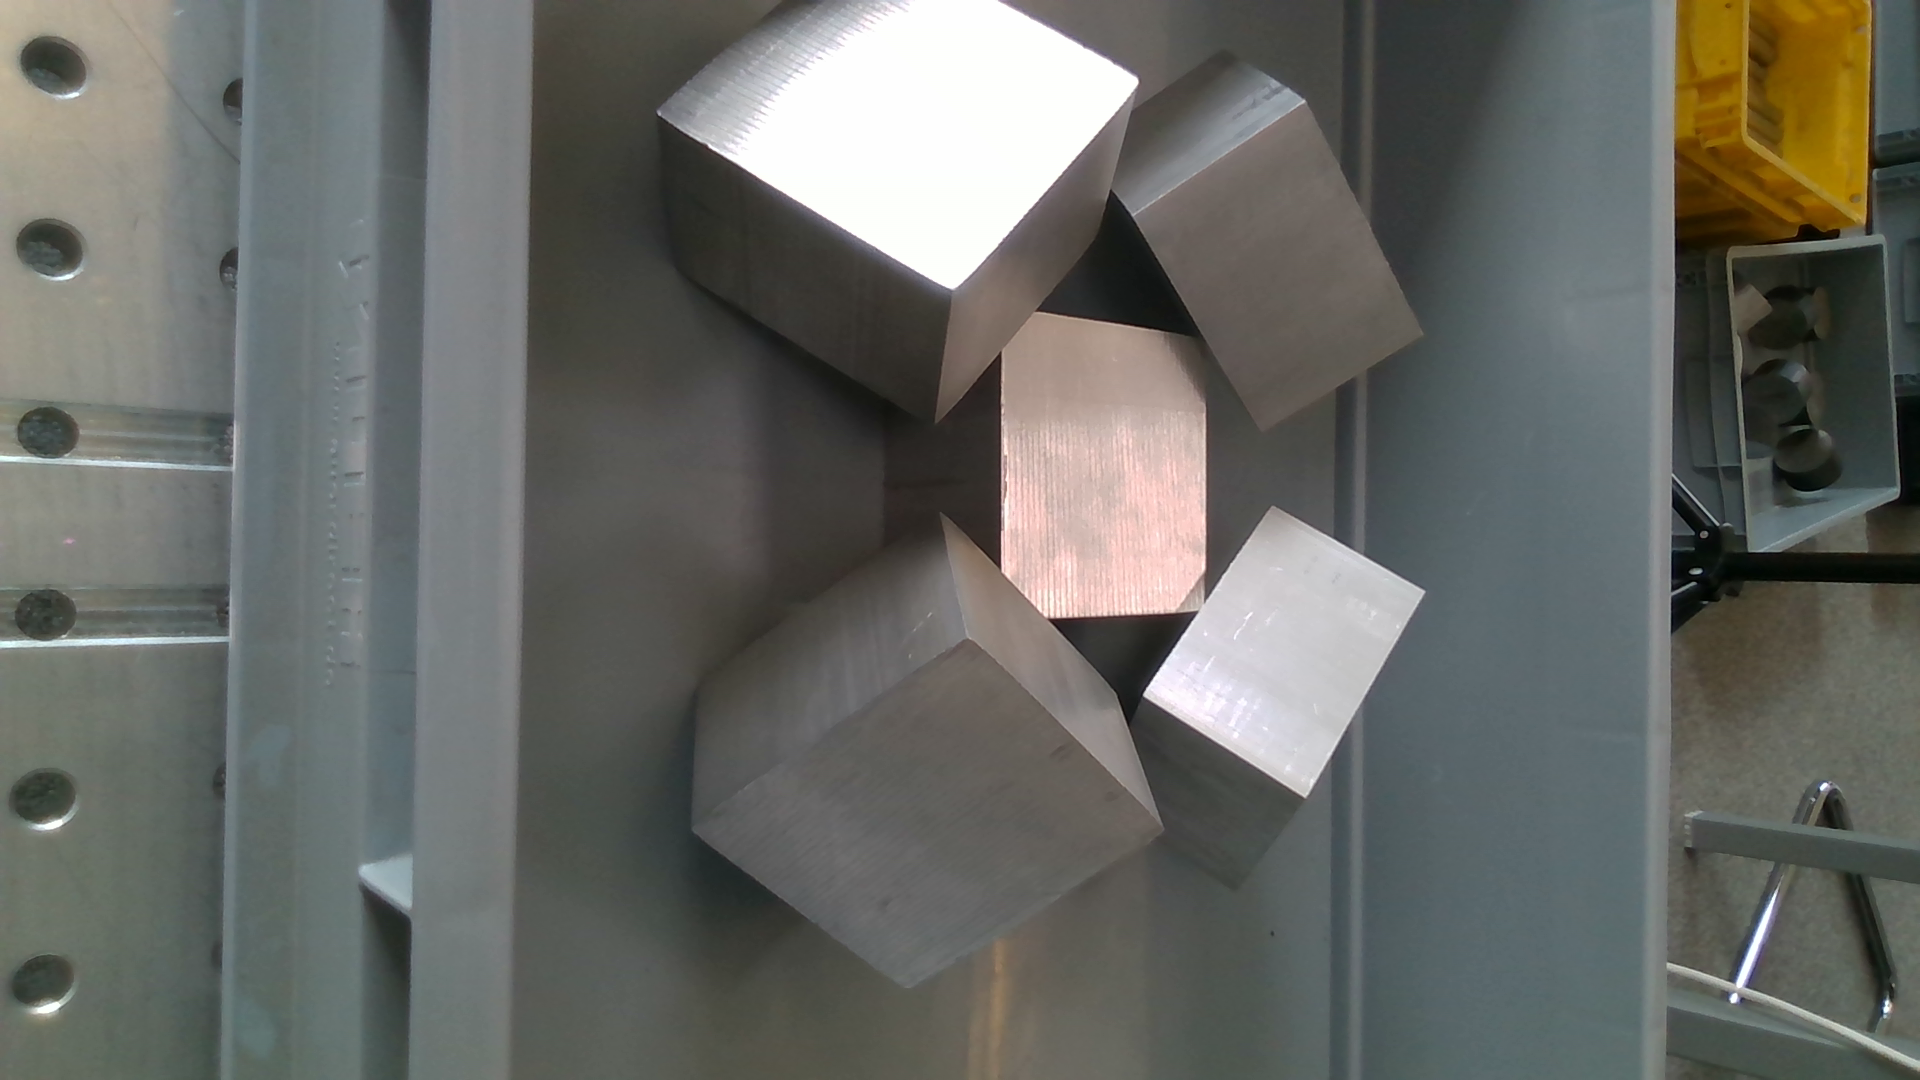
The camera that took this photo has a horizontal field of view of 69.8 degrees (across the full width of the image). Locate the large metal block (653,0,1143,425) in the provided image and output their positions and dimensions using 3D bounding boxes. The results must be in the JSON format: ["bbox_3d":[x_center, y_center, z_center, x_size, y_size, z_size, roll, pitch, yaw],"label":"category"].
[{"bbox_3d":[-0.014,-0.088,0.334,0.080,0.050,0.080,32,62,12],"label":"large metal block"}]

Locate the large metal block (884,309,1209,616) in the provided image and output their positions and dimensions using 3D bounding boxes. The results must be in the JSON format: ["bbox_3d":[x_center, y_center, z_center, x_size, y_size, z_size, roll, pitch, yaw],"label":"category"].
[{"bbox_3d":[0.025,-0.020,0.394,0.080,0.050,0.080,1,89,-40],"label":"large metal block"}]

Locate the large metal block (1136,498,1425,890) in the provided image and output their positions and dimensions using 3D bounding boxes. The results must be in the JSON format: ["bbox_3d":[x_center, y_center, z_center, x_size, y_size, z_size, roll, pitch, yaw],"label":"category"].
[{"bbox_3d":[0.090,0.049,0.423,0.080,0.050,0.080,-51,163,-29],"label":"large metal block"}]

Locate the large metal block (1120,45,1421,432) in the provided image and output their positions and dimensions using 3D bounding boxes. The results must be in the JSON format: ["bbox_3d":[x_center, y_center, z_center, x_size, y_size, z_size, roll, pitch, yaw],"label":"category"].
[{"bbox_3d":[0.085,-0.092,0.415,0.050,0.080,0.080,-32,118,11],"label":"large metal block"}]

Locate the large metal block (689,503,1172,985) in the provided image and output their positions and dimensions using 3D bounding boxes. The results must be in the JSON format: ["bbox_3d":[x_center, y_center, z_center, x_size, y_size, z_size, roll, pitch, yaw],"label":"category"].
[{"bbox_3d":[-0.008,0.052,0.338,0.080,0.050,0.080,-35,122,15],"label":"large metal block"}]
